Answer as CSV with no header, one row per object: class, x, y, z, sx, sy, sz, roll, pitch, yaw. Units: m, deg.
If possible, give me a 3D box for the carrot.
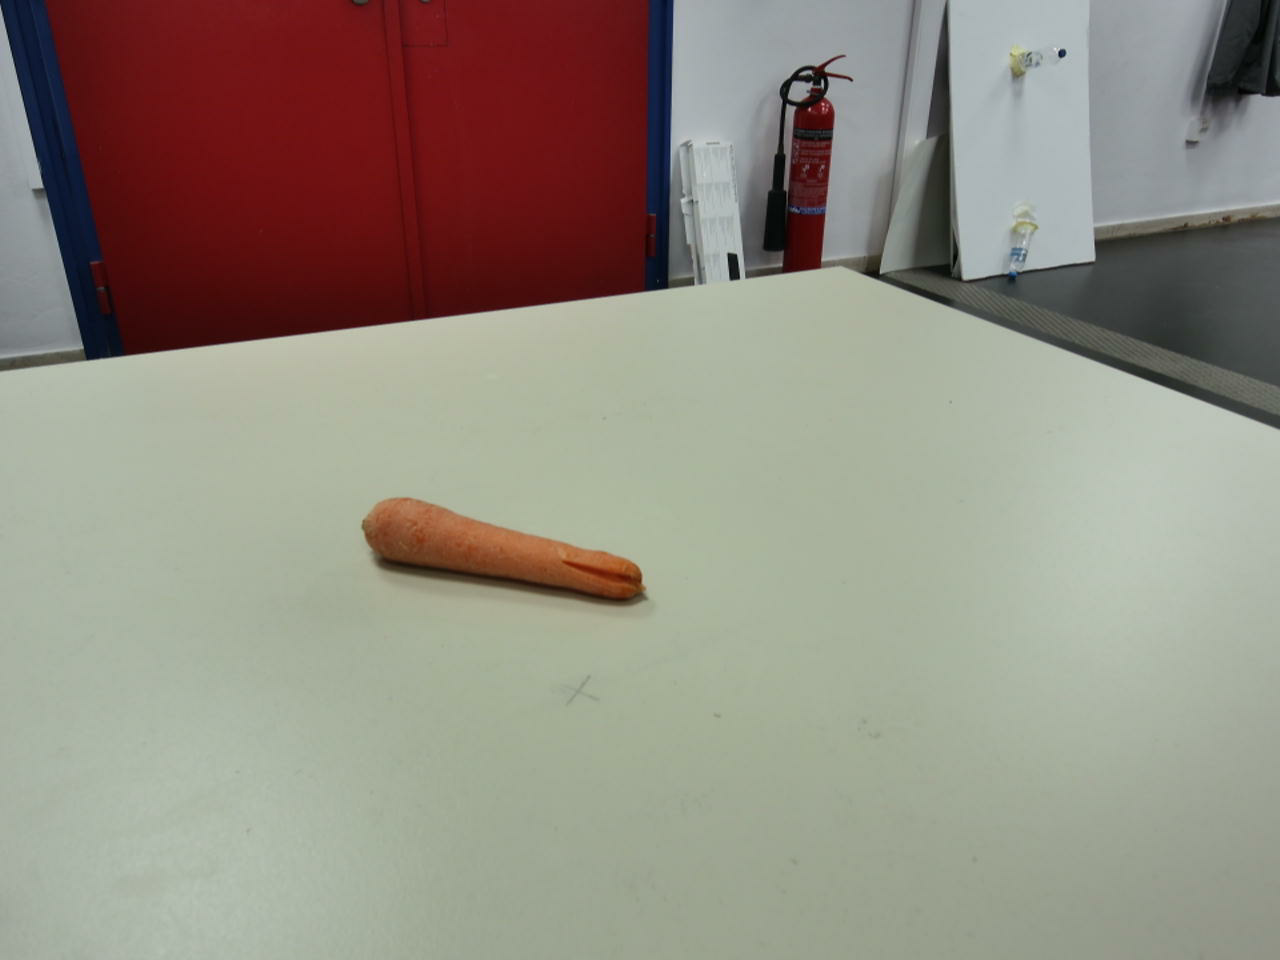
carrot,-0.063,0.030,0.445,0.136,0.032,0.030,8,25,17
